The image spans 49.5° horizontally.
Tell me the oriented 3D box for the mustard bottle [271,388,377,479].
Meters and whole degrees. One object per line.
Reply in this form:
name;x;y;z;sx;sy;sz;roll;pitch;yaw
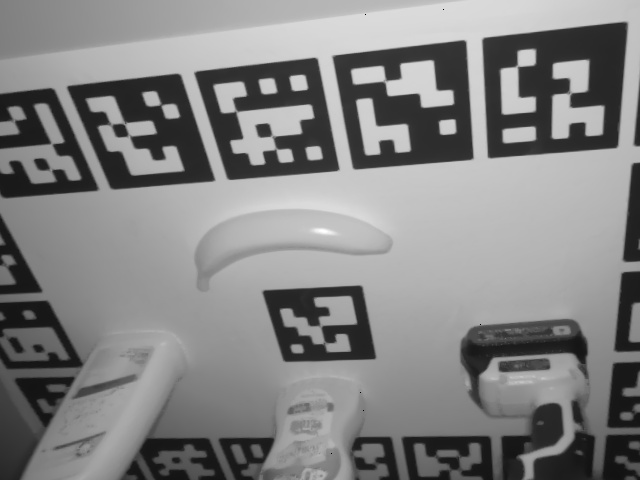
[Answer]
mustard bottle;-0.001;0.236;0.698;0.095;0.194;0.058;-9;121;17

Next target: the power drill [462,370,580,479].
power drill;0.172;0.205;0.614;0.184;0.189;0.057;-10;121;11

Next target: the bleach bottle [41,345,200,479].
bleach bottle;-0.202;0.210;0.673;0.102;0.253;0.067;4;124;7

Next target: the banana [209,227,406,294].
banana;-0.021;0.023;0.641;0.196;0.039;0.074;-9;119;11
